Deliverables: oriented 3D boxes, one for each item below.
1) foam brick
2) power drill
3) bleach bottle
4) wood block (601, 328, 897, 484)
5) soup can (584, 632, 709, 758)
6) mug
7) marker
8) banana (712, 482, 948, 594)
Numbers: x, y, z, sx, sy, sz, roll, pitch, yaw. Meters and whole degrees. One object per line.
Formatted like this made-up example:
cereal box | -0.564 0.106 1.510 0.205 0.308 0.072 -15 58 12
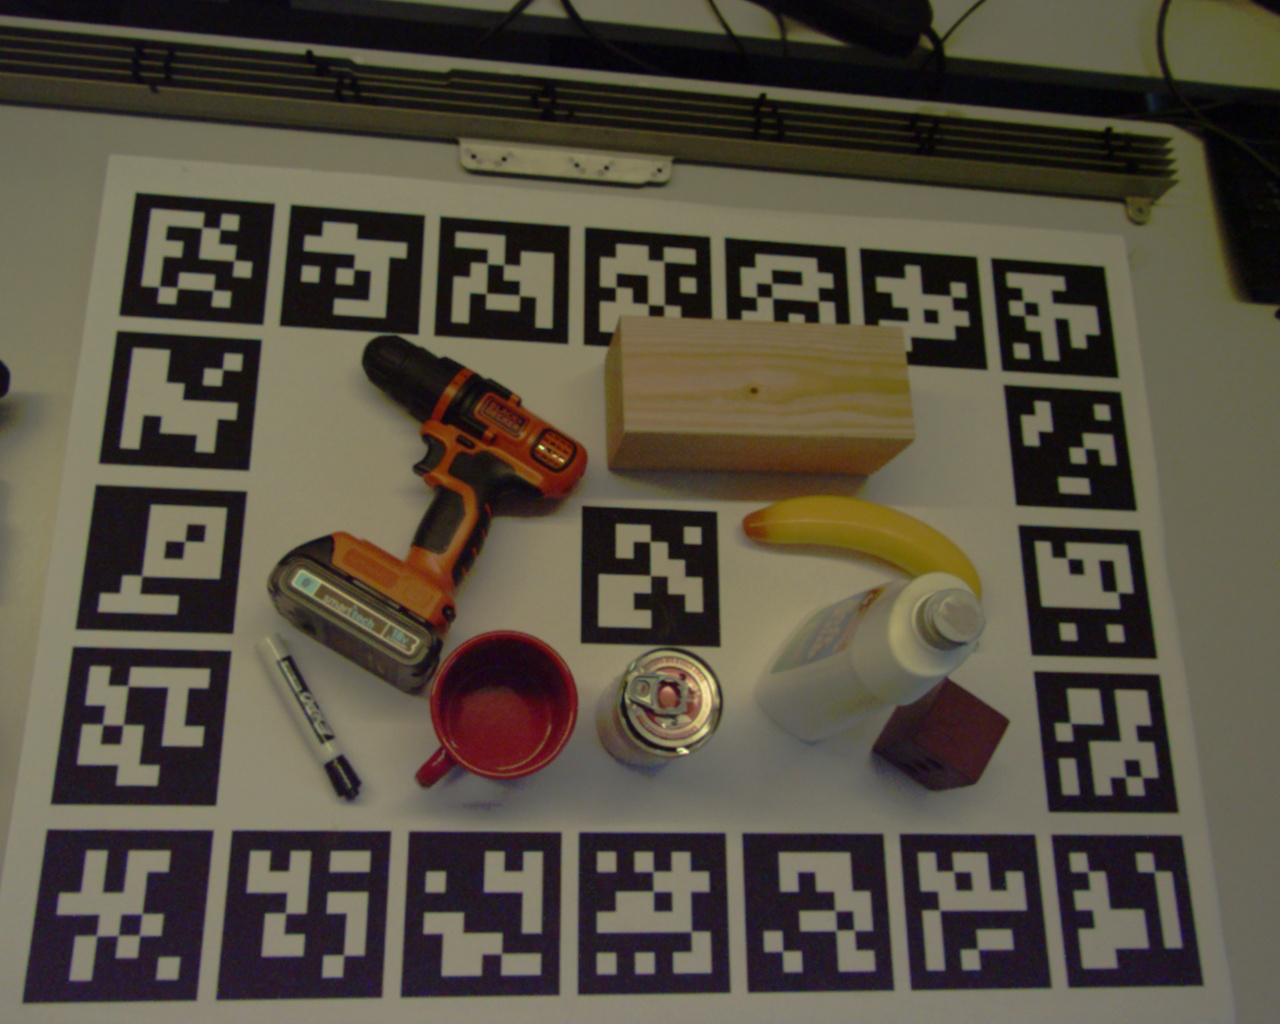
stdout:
foam brick | 0.199 0.158 0.818 0.053 0.078 0.051 35 69 4
power drill | -0.157 -0.007 0.827 0.184 0.057 0.186 31 70 -2
bleach bottle | 0.136 0.085 0.737 0.068 0.251 0.102 31 70 1
wood block | 0.078 -0.079 0.864 0.205 0.091 0.090 2 74 -8
soup can | 0.002 0.127 0.776 0.067 0.102 0.068 4 69 -10
mug | -0.108 0.131 0.774 0.093 0.082 0.117 45 75 3
marker | -0.228 0.137 0.789 0.019 0.020 0.121 -27 80 -14
banana | 0.153 0.017 0.870 0.197 0.039 0.074 19 85 -5
